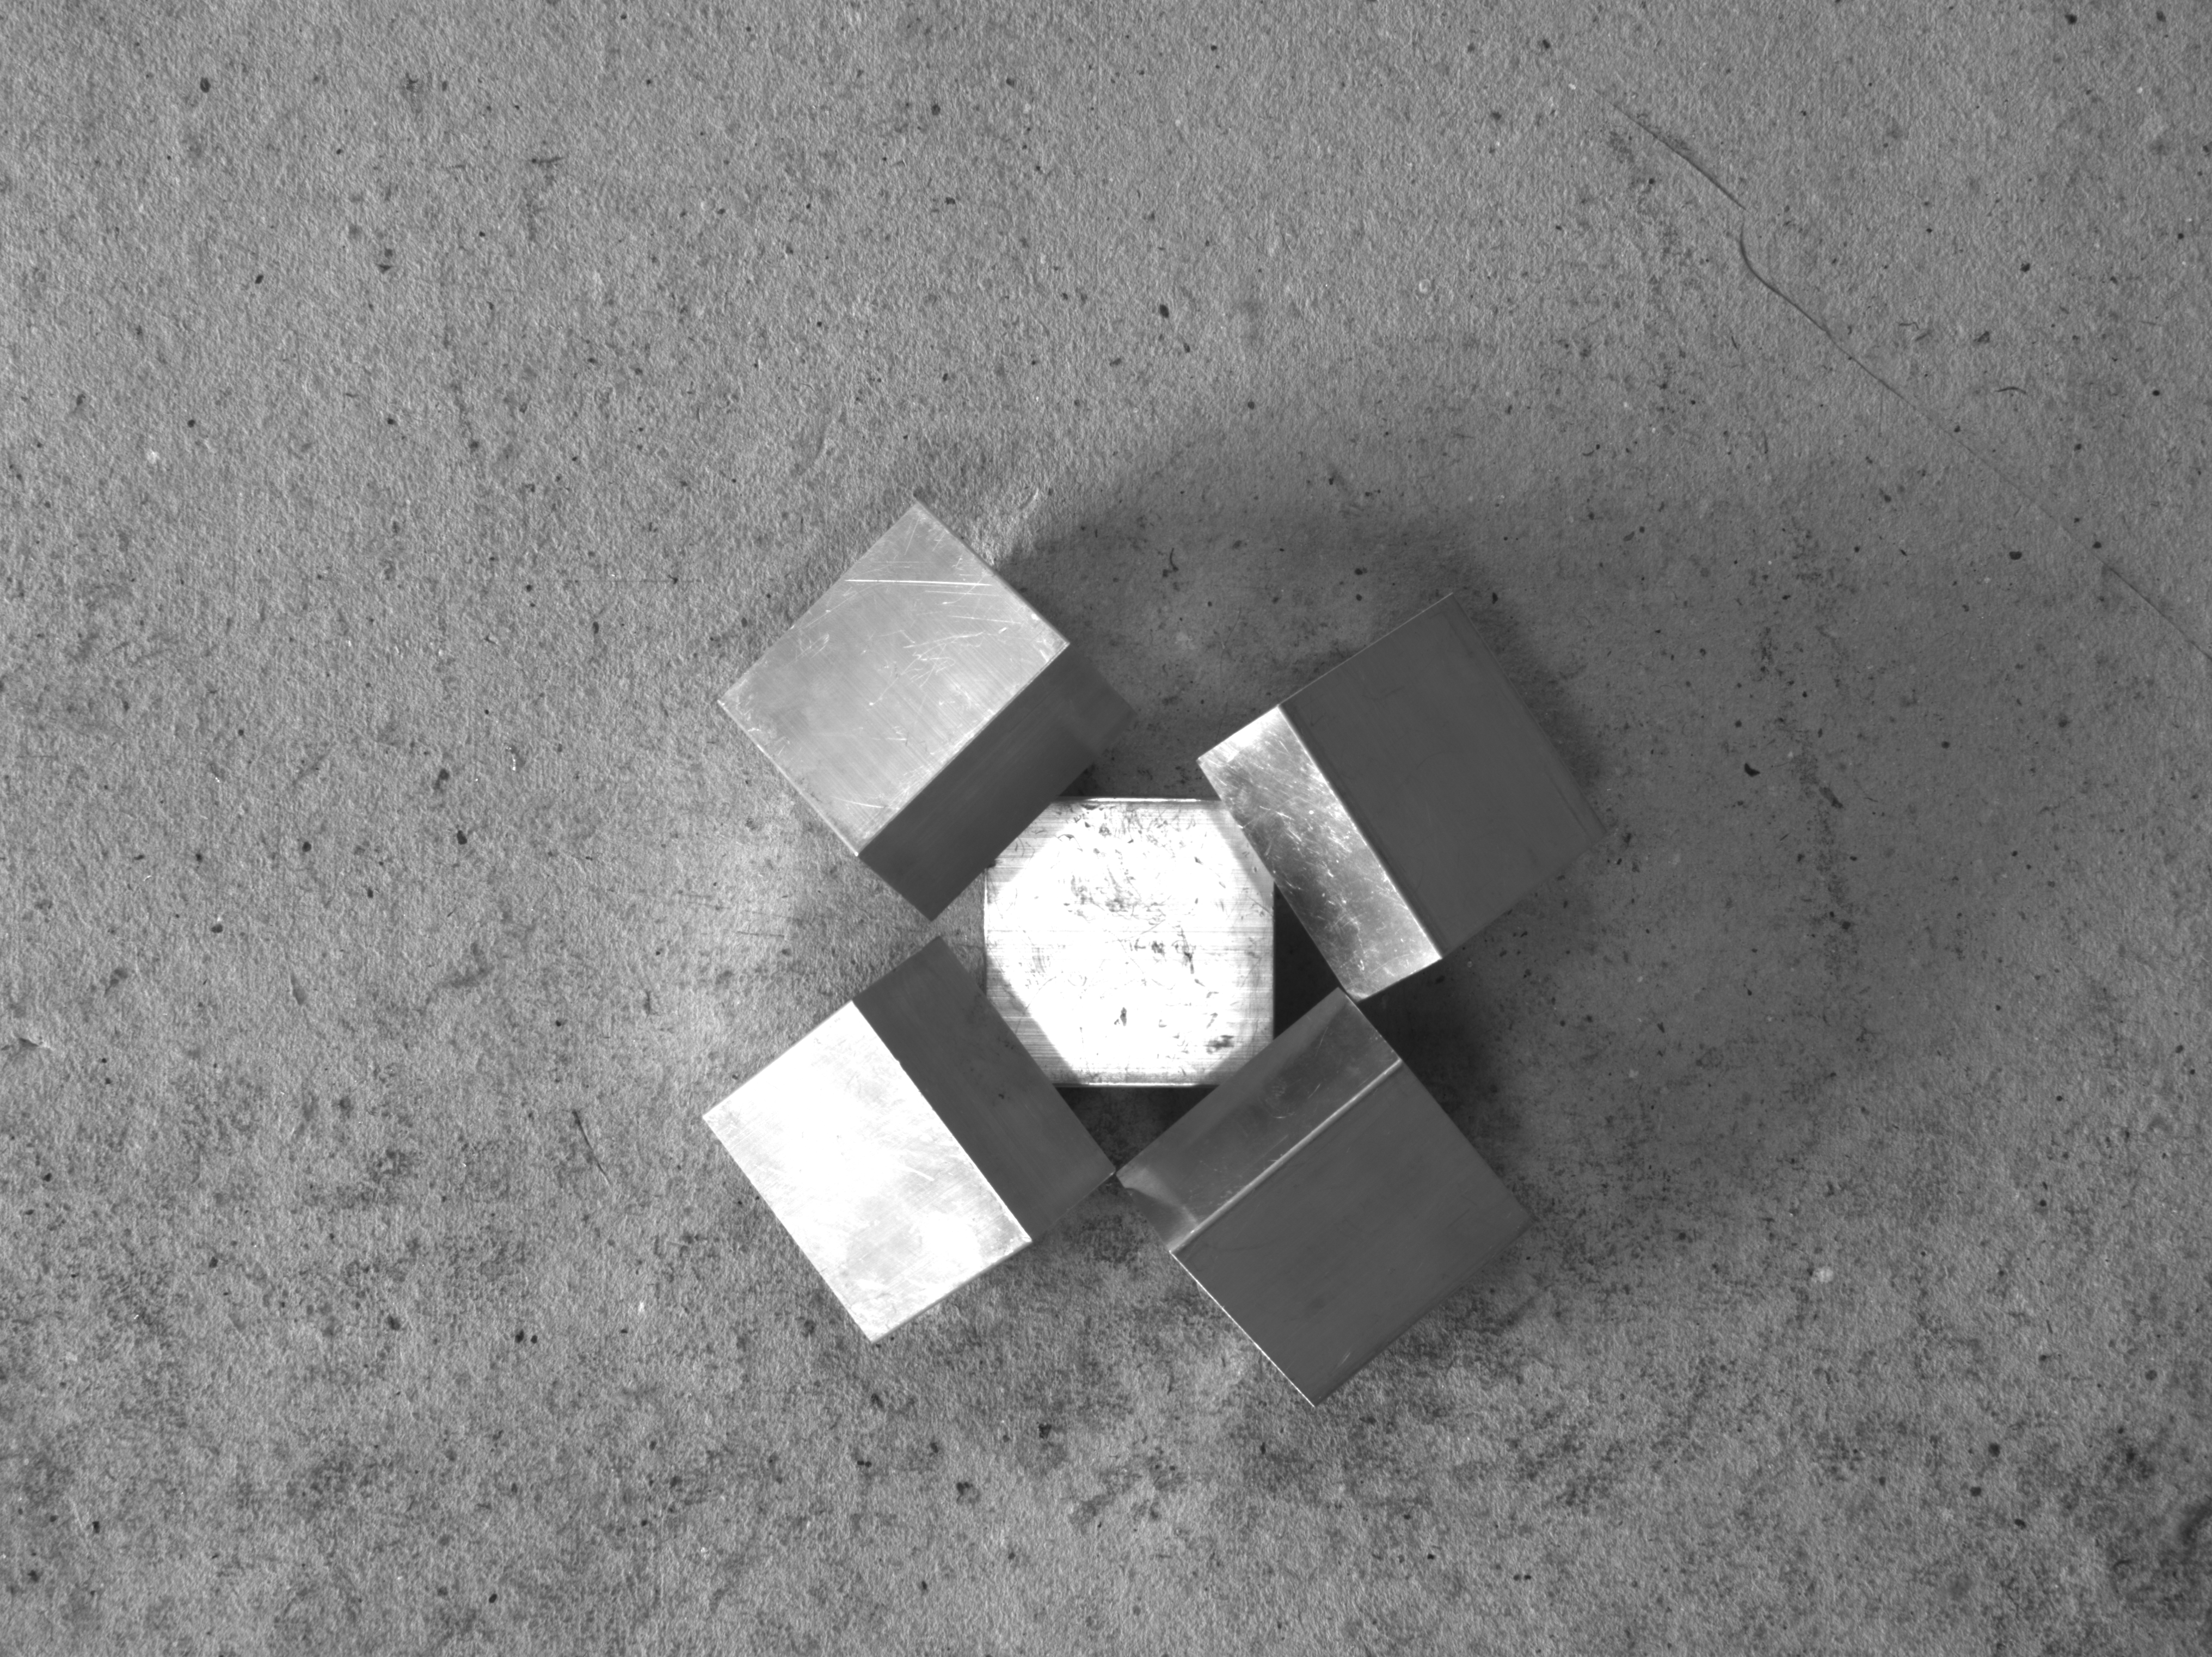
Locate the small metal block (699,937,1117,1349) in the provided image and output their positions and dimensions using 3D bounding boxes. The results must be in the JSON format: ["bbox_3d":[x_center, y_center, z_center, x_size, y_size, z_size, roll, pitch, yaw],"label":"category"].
[{"bbox_3d":[-0.034,0.054,0.633,0.050,0.025,0.050,53,134,0],"label":"small metal block"}]

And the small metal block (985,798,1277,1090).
[{"bbox_3d":[0.004,0.020,0.646,0.050,0.025,0.050,0,90,-1],"label":"small metal block"}]

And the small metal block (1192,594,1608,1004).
[{"bbox_3d":[0.051,-0.005,0.634,0.050,0.025,0.050,-33,91,-41],"label":"small metal block"}]

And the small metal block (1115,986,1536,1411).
[{"bbox_3d":[0.038,0.064,0.633,0.050,0.025,0.050,-40,128,0],"label":"small metal block"}]

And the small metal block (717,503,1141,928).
[{"bbox_3d":[-0.031,-0.020,0.633,0.050,0.025,0.050,-45,48,0],"label":"small metal block"}]
